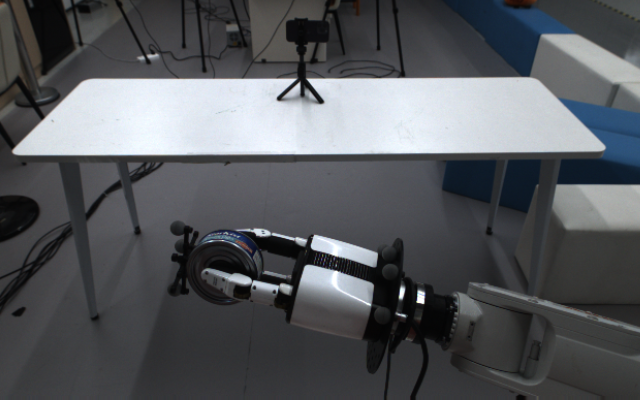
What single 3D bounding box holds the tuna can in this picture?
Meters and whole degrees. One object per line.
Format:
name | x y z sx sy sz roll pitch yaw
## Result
tuna can | -0.108 0.079 0.566 0.085 0.085 0.034 4 18 3
